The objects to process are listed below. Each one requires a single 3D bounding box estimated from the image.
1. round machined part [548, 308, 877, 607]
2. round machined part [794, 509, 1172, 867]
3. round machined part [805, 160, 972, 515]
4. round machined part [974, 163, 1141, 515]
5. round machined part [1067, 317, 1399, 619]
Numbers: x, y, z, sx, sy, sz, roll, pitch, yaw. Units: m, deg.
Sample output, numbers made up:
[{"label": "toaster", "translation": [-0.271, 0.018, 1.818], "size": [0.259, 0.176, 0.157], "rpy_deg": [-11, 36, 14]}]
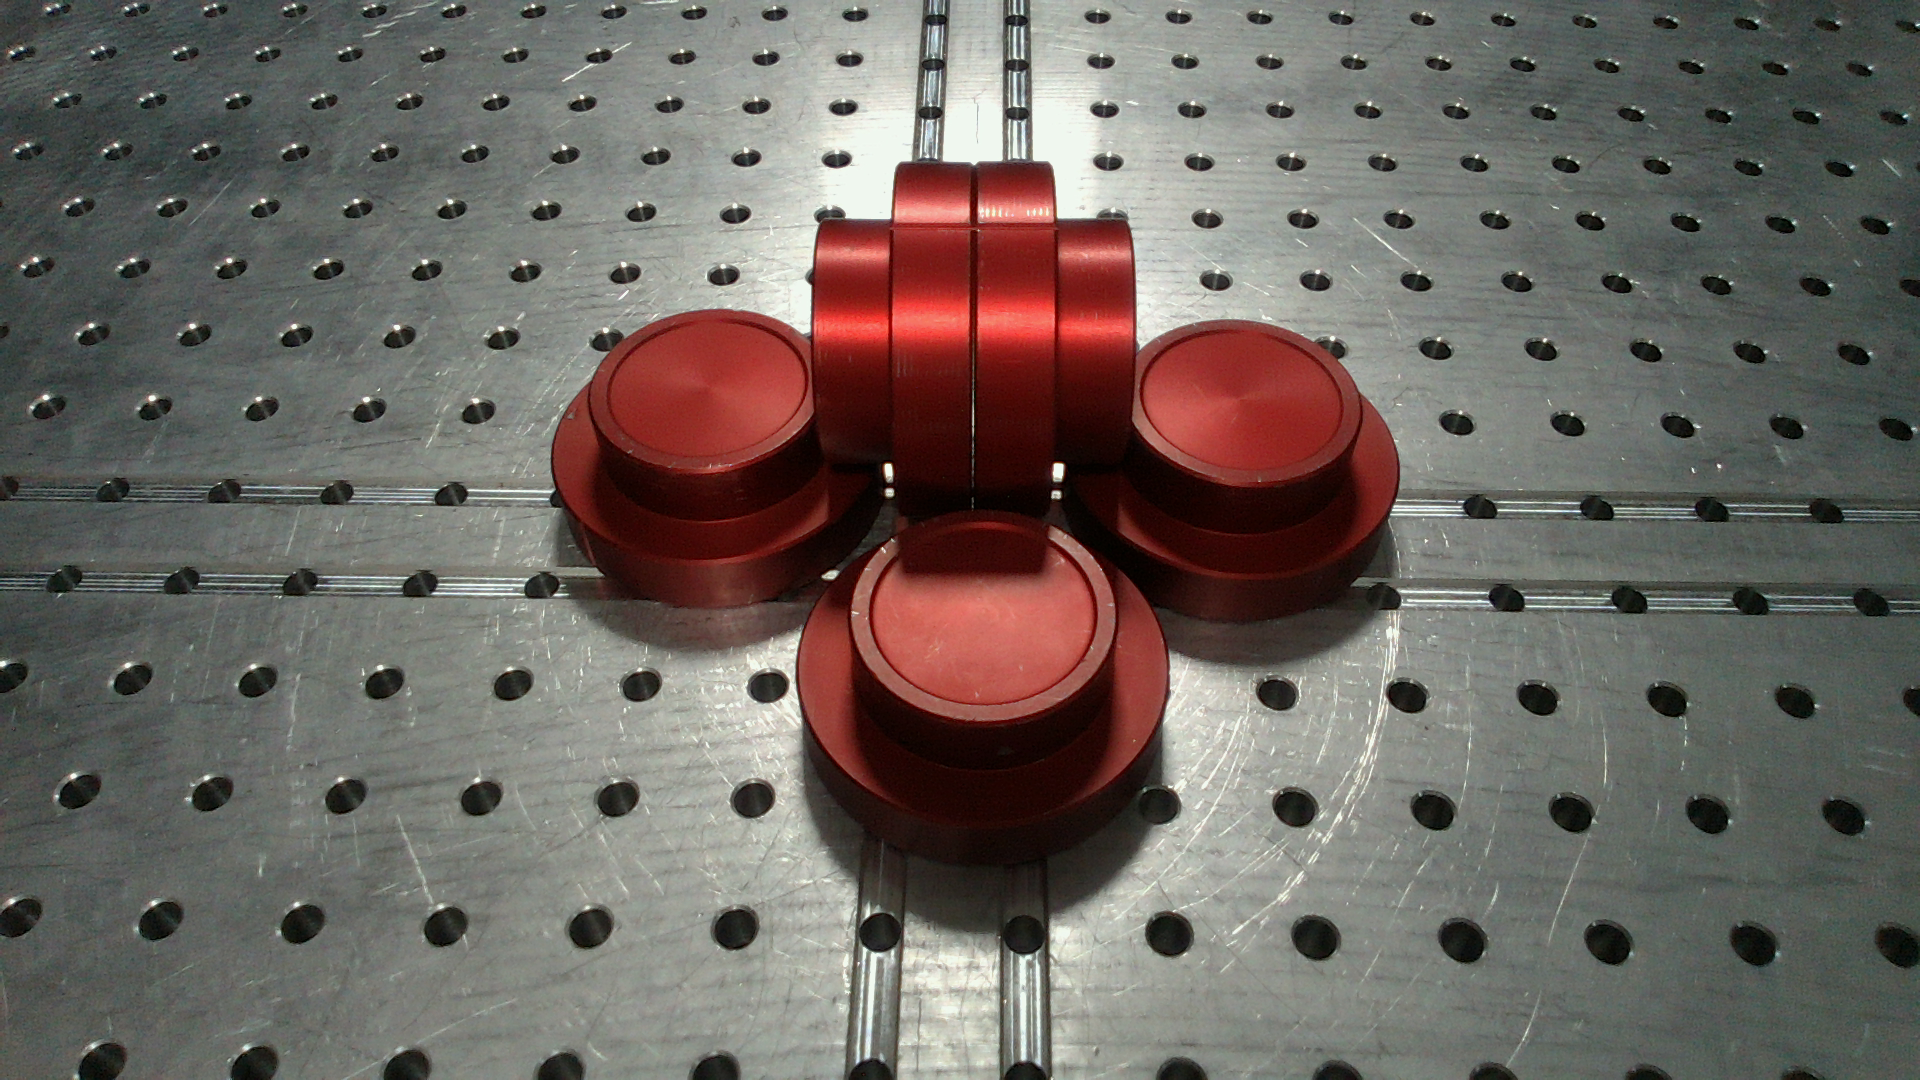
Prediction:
[{"label": "round machined part", "translation": [-0.073, -0.031, 0.410], "size": [0.098, 0.042, 0.098], "rpy_deg": [0, 50, 0]}, {"label": "round machined part", "translation": [0.006, 0.031, 0.357], "size": [0.098, 0.042, 0.098], "rpy_deg": [0, 50, 0]}, {"label": "round machined part", "translation": [-0.018, -0.056, 0.386], "size": [0.042, 0.098, 0.098], "rpy_deg": [1, 50, 1]}, {"label": "round machined part", "translation": [0.025, -0.056, 0.387], "size": [0.042, 0.098, 0.098], "rpy_deg": [-1, 50, 0]}, {"label": "round machined part", "translation": [0.080, -0.028, 0.406], "size": [0.098, 0.042, 0.098], "rpy_deg": [0, 50, 0]}]
